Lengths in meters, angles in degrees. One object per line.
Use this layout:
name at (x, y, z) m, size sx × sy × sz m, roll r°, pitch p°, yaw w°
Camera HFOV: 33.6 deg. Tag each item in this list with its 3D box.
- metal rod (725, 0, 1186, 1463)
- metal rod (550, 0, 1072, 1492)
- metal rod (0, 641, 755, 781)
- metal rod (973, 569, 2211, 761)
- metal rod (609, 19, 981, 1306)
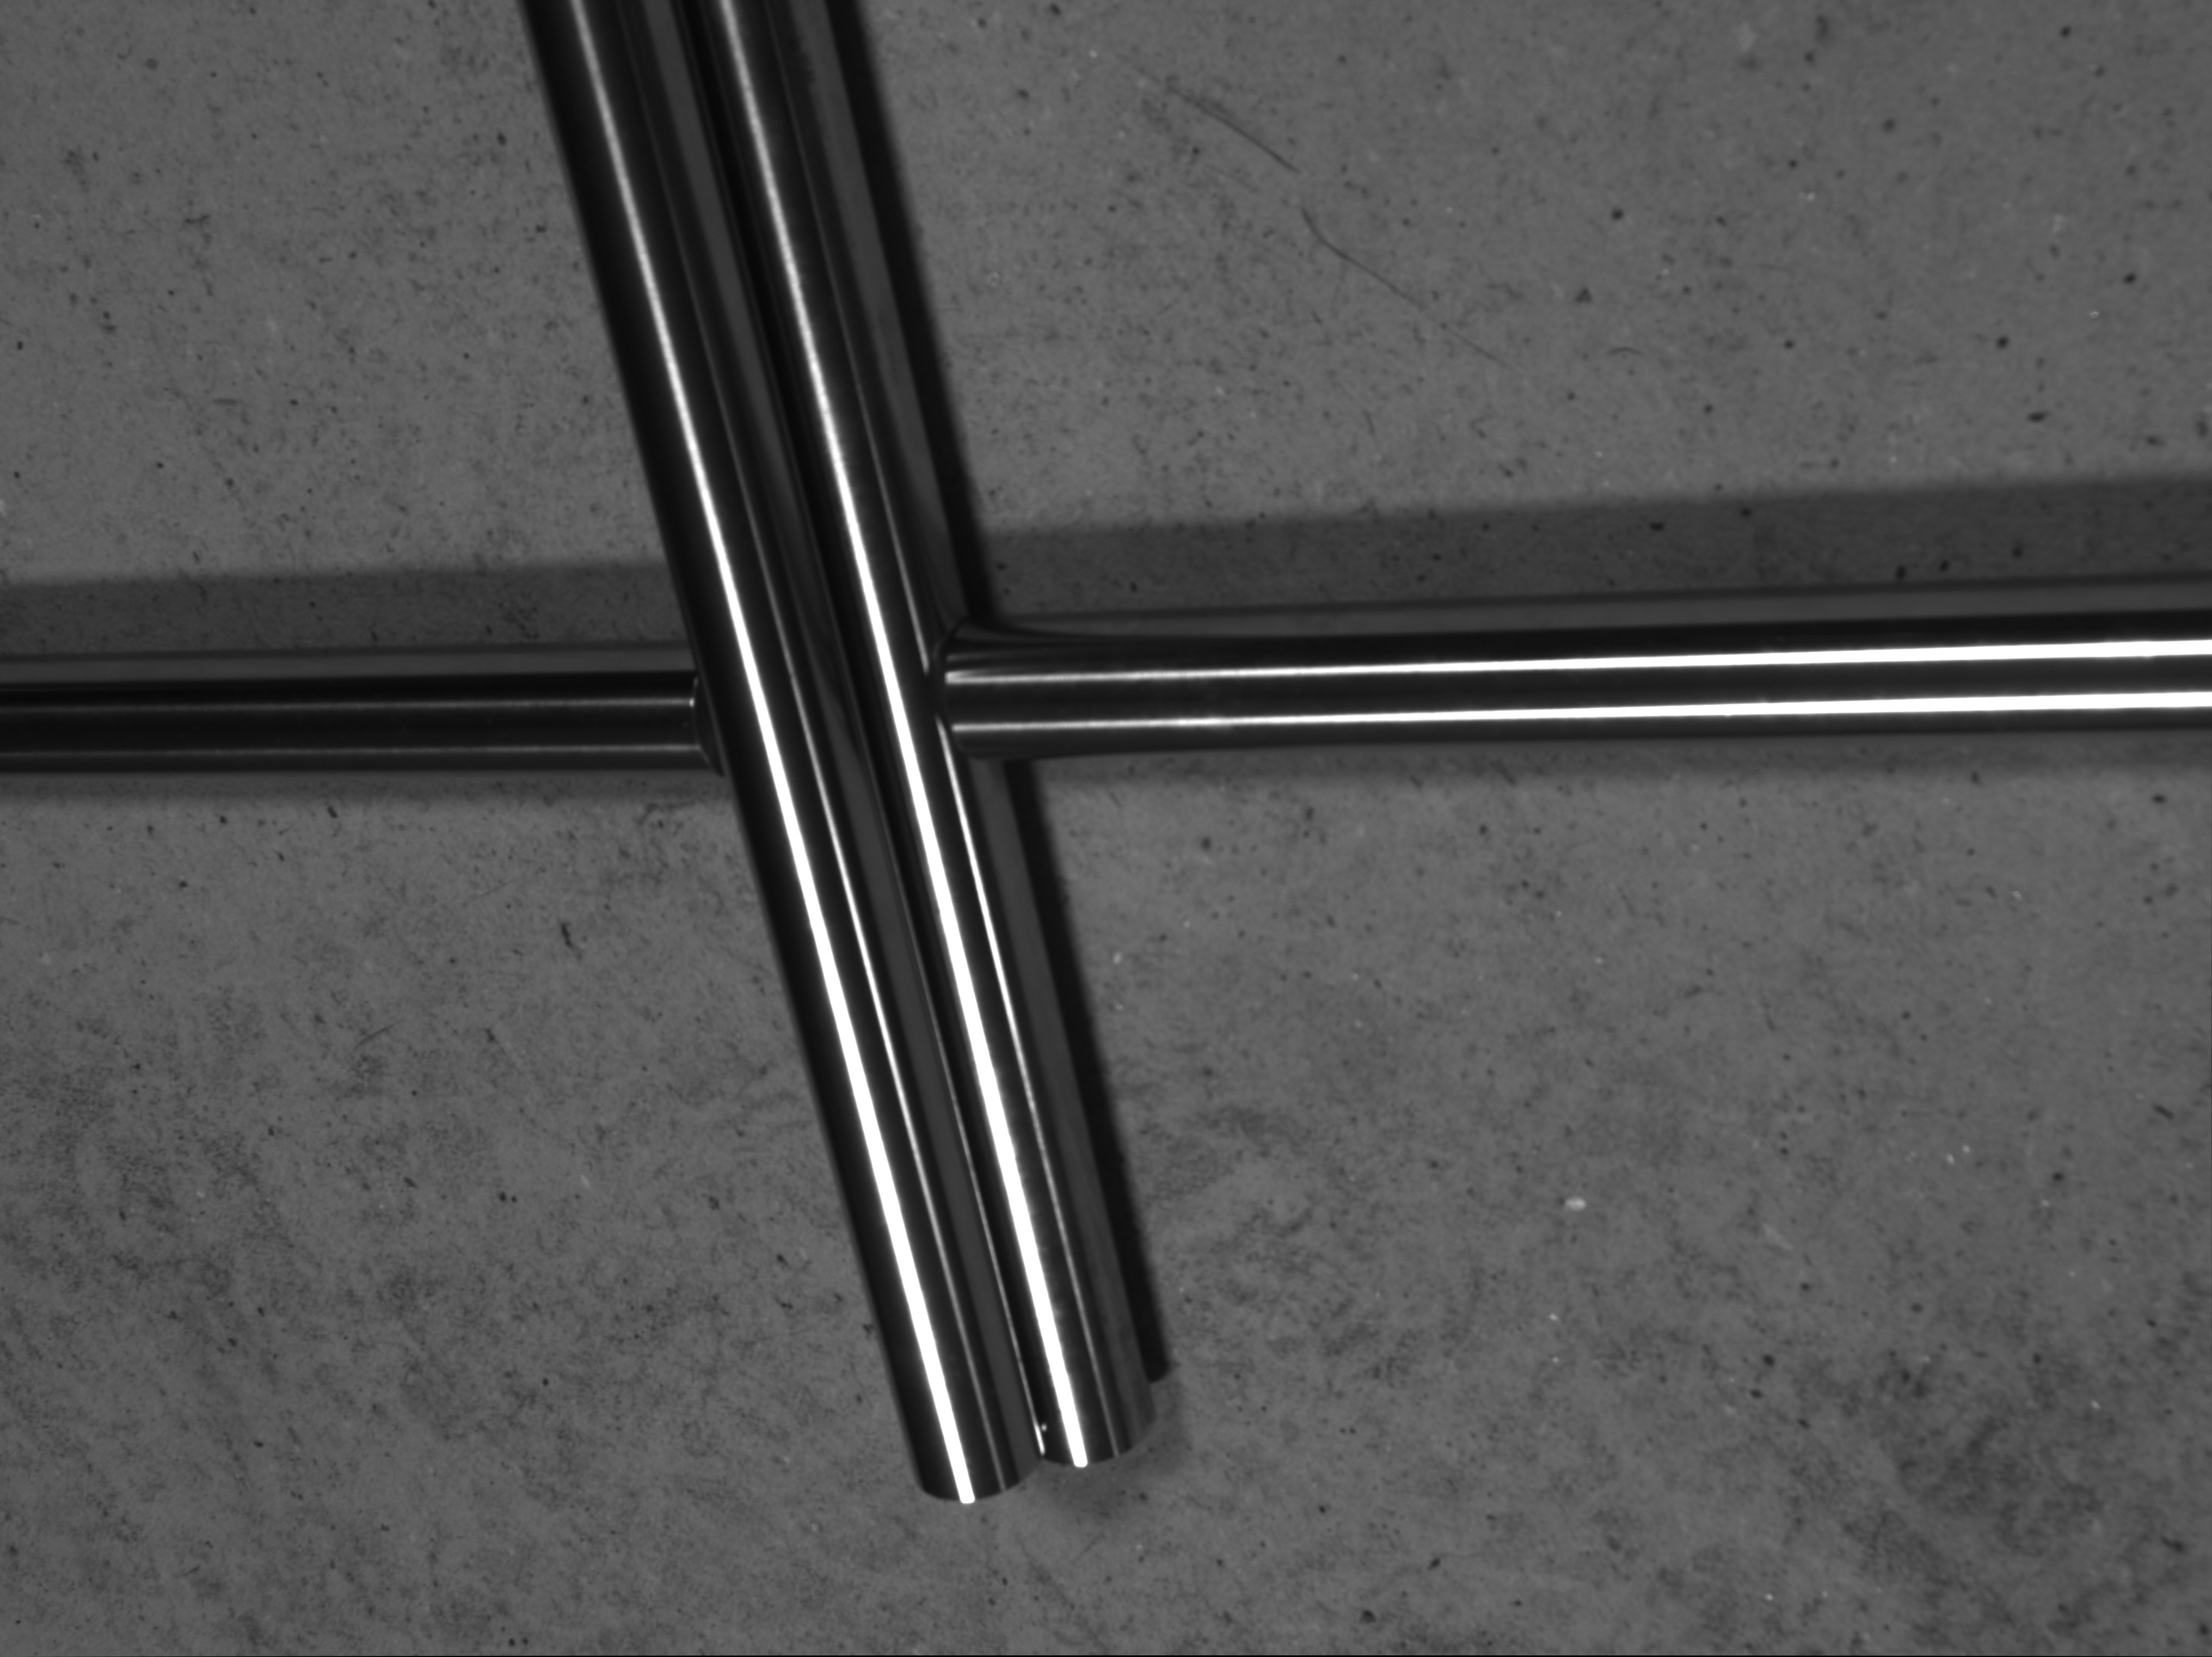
metal rod at (-0.026, -0.019, 0.634) m, size 0.025 × 0.025 × 0.300 m, roll 1°, pitch 119°, yaw 26°
metal rod at (-0.048, -0.016, 0.620) m, size 0.025 × 0.025 × 0.300 m, roll 1°, pitch 119°, yaw 26°
metal rod at (-0.195, -0.022, 0.715) m, size 0.299 × 0.025 × 0.025 m, roll 0°, pitch 118°, yaw 26°
metal rod at (0.117, -0.025, 0.557) m, size 0.299 × 0.025 × 0.025 m, roll -1°, pitch 118°, yaw 27°
metal rod at (-0.050, -0.024, 0.643) m, size 0.025 × 0.025 × 0.300 m, roll 1°, pitch 119°, yaw 26°
